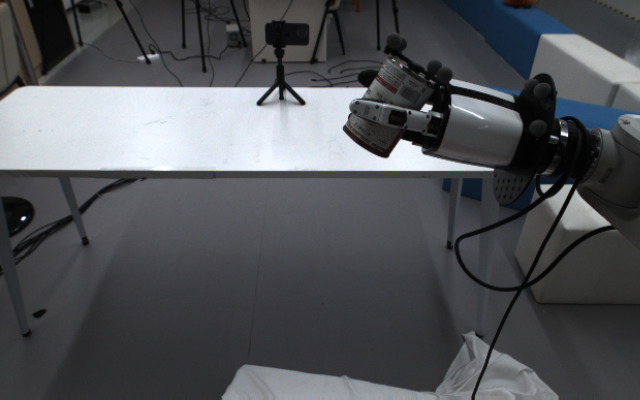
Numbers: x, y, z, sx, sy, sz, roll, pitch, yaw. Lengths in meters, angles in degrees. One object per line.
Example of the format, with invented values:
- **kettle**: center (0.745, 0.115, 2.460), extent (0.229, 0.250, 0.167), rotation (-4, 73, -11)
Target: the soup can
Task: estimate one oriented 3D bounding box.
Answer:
- **soup can**: center (0.083, -0.111, 0.581), extent (0.067, 0.101, 0.067), rotation (28, 22, -12)
